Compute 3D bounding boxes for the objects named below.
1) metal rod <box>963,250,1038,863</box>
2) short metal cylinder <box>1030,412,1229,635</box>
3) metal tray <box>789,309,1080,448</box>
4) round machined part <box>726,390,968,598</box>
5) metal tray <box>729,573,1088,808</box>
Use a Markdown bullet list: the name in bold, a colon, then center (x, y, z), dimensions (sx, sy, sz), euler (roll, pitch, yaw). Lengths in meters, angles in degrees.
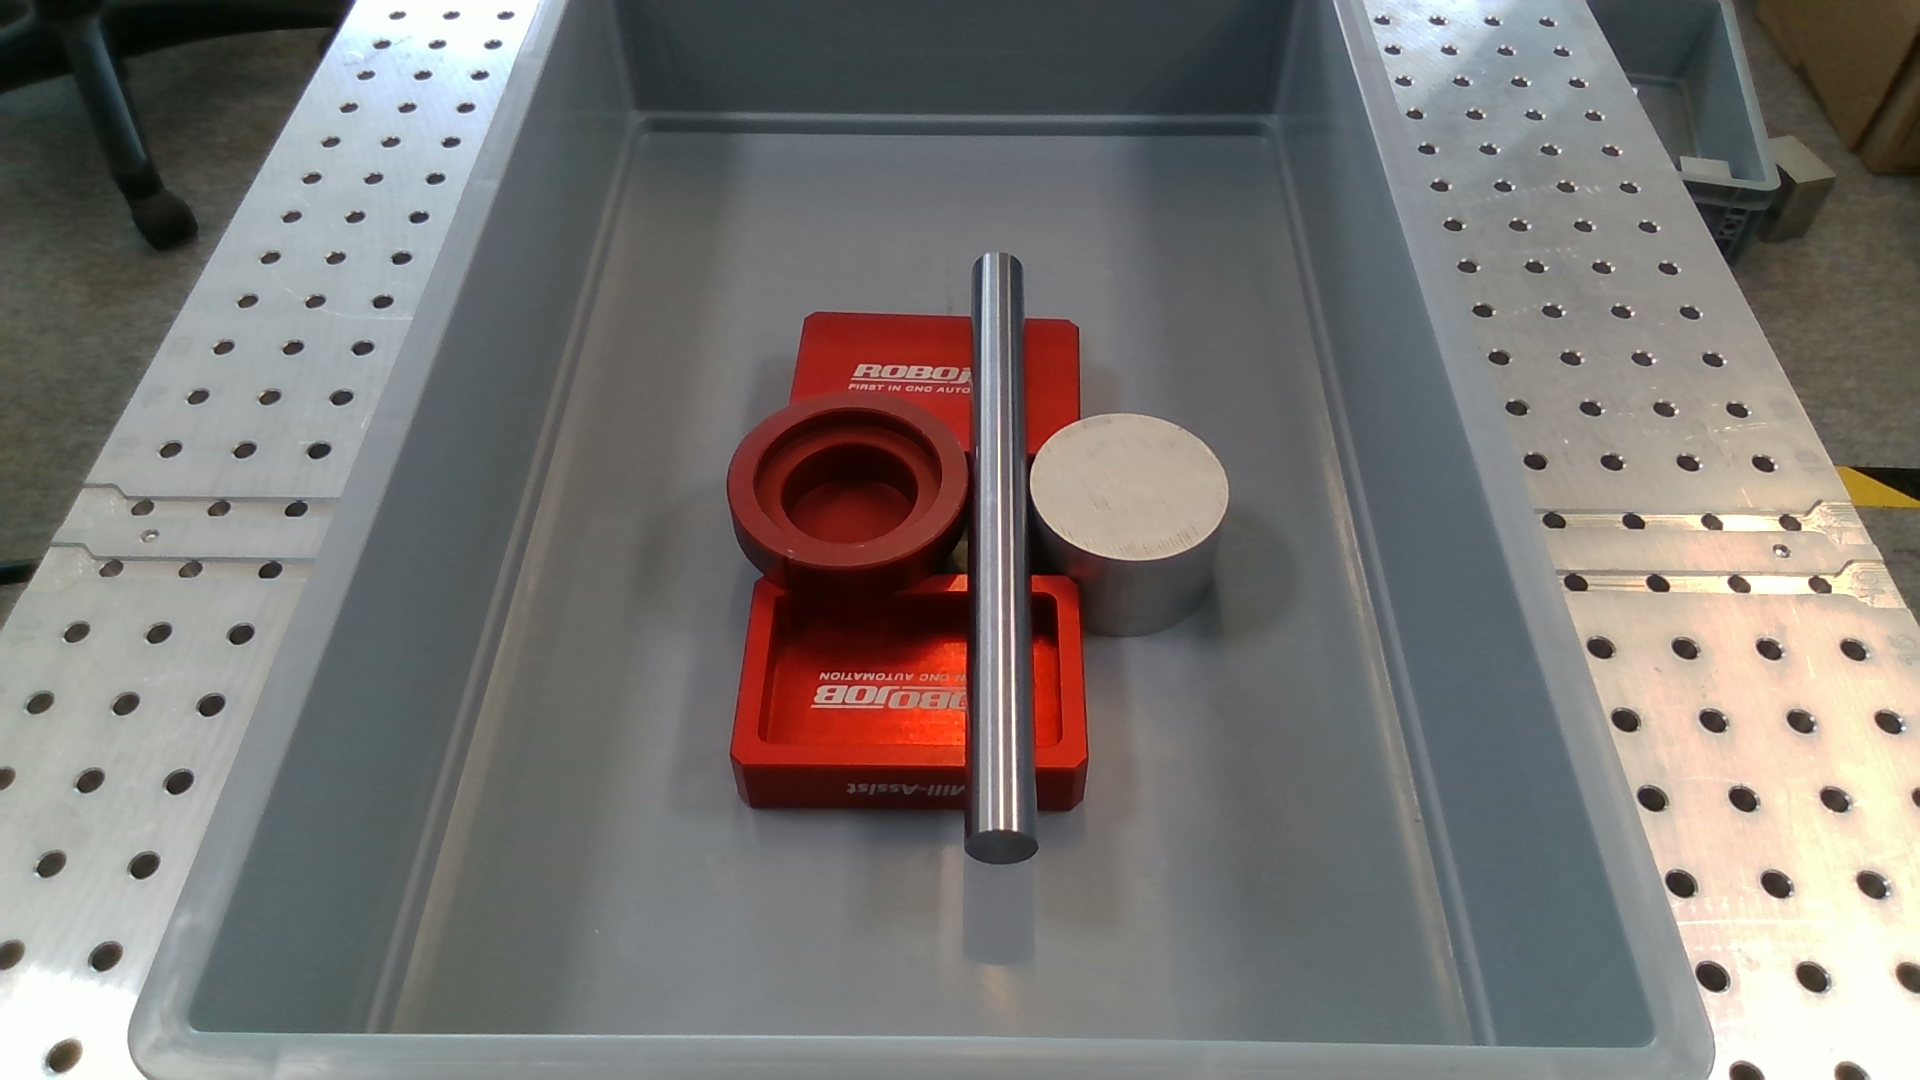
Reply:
- **metal rod**: center (0.015, -0.013, 0.556), dimensions (0.025, 0.025, 0.299), euler (1, 50, 0)
- **short metal cylinder**: center (0.068, -0.007, 0.575), dimensions (0.080, 0.050, 0.080), euler (0, 50, 0)
- **metal tray**: center (-0.011, -0.064, 0.634), dimensions (0.130, 0.030, 0.090), euler (2, 50, 2)
- **round machined part**: center (-0.046, -0.014, 0.574), dimensions (0.098, 0.042, 0.098), euler (0, 50, 0)
- **metal tray**: center (-0.018, 0.057, 0.535), dimensions (0.130, 0.030, 0.090), euler (1, 50, 0)
